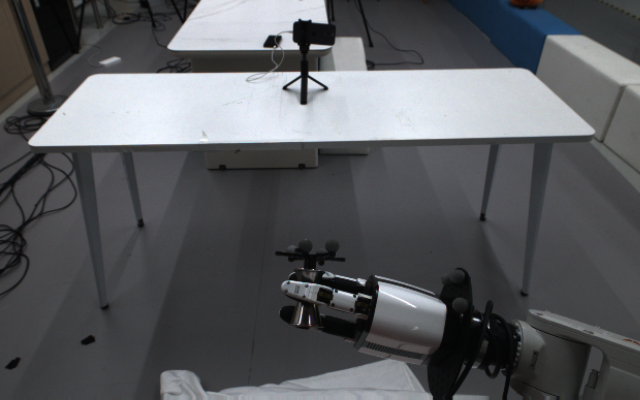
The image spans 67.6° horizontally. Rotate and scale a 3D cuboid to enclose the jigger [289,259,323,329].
[{"bbox_3d":[-0.016,0.120,0.597,0.043,0.043,0.071,3,75,2],"label":"jigger"}]
